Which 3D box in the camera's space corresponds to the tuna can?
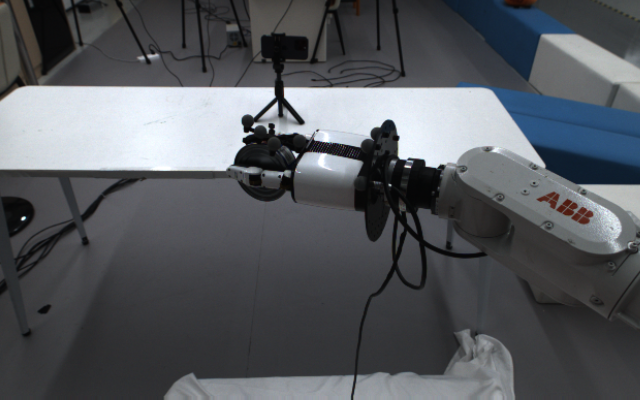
[{"bbox_3d":[-0.073,-0.044,0.675,0.085,0.085,0.034,16,29,19],"label":"tuna can"}]
